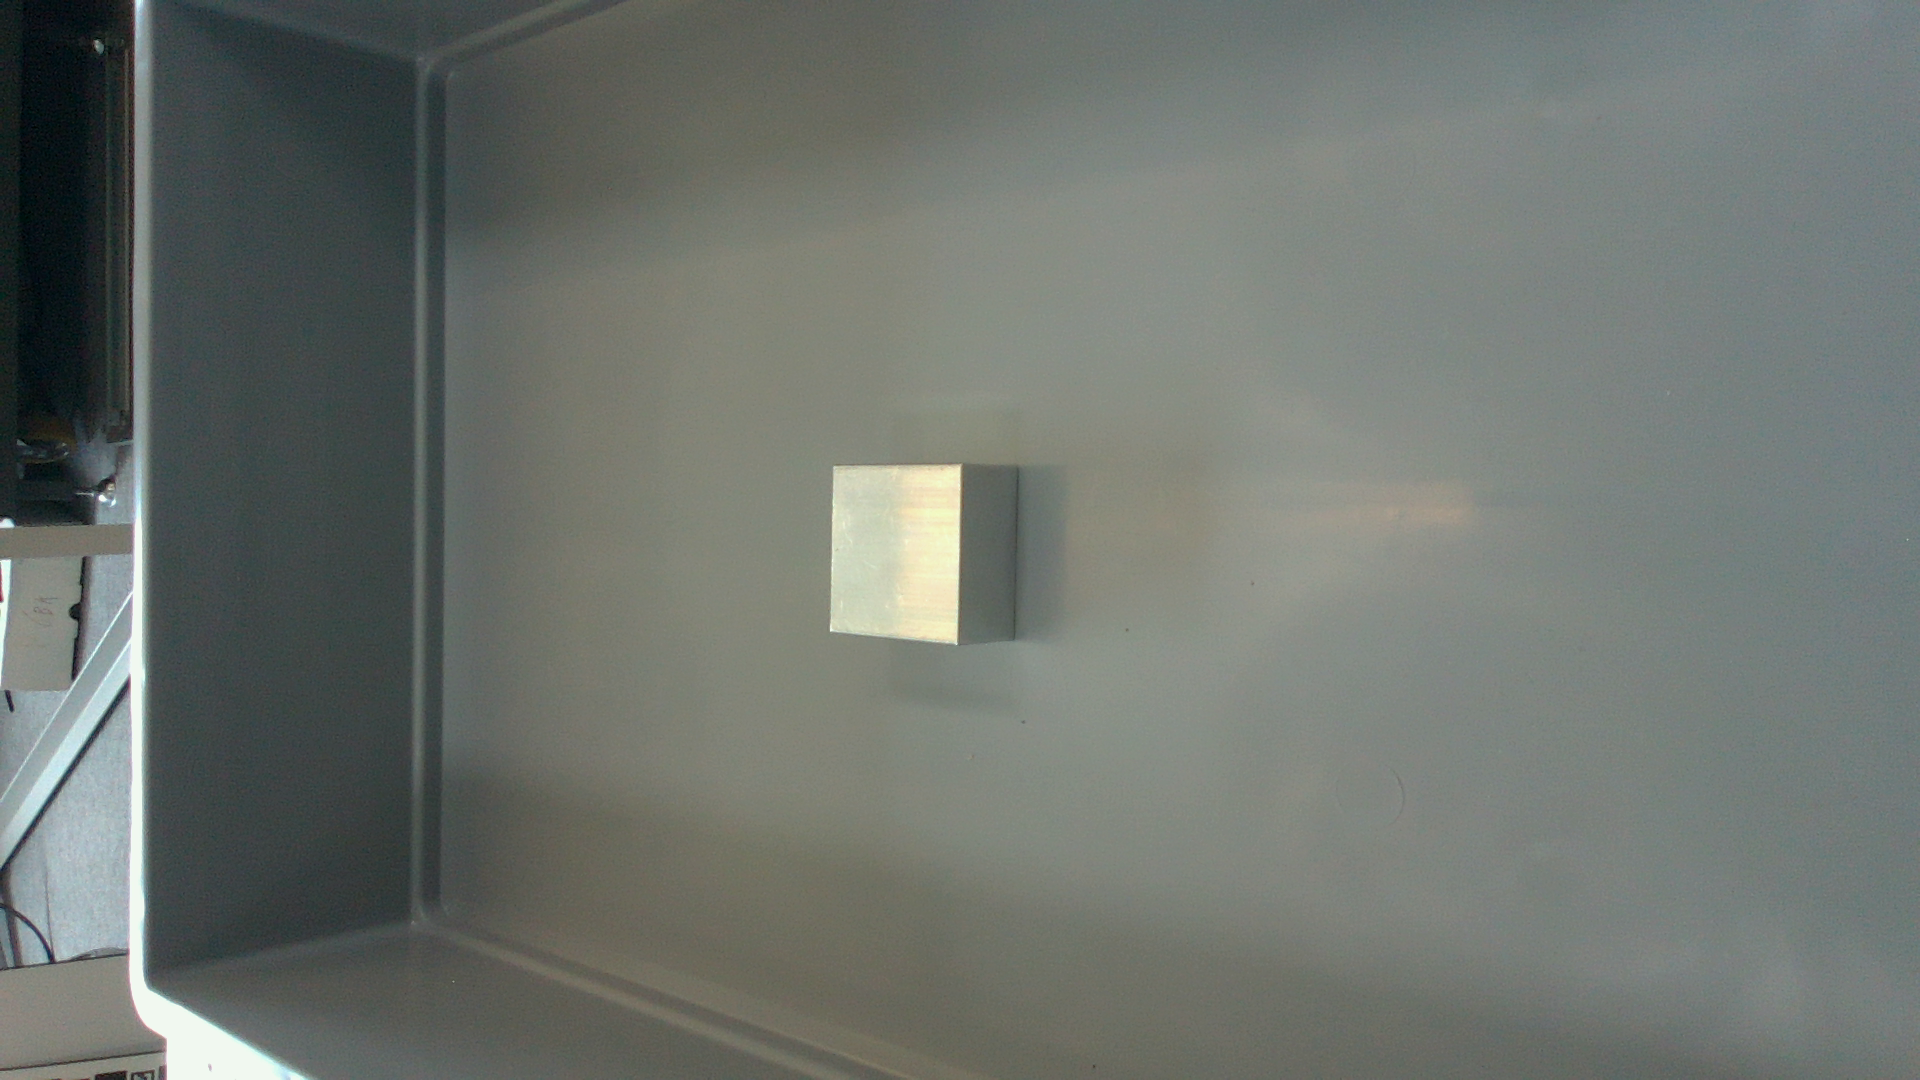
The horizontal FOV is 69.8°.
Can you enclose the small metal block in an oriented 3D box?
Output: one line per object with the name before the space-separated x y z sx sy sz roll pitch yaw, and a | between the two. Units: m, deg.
small metal block | -0.011 0.003 0.400 0.050 0.025 0.050 2 92 40
